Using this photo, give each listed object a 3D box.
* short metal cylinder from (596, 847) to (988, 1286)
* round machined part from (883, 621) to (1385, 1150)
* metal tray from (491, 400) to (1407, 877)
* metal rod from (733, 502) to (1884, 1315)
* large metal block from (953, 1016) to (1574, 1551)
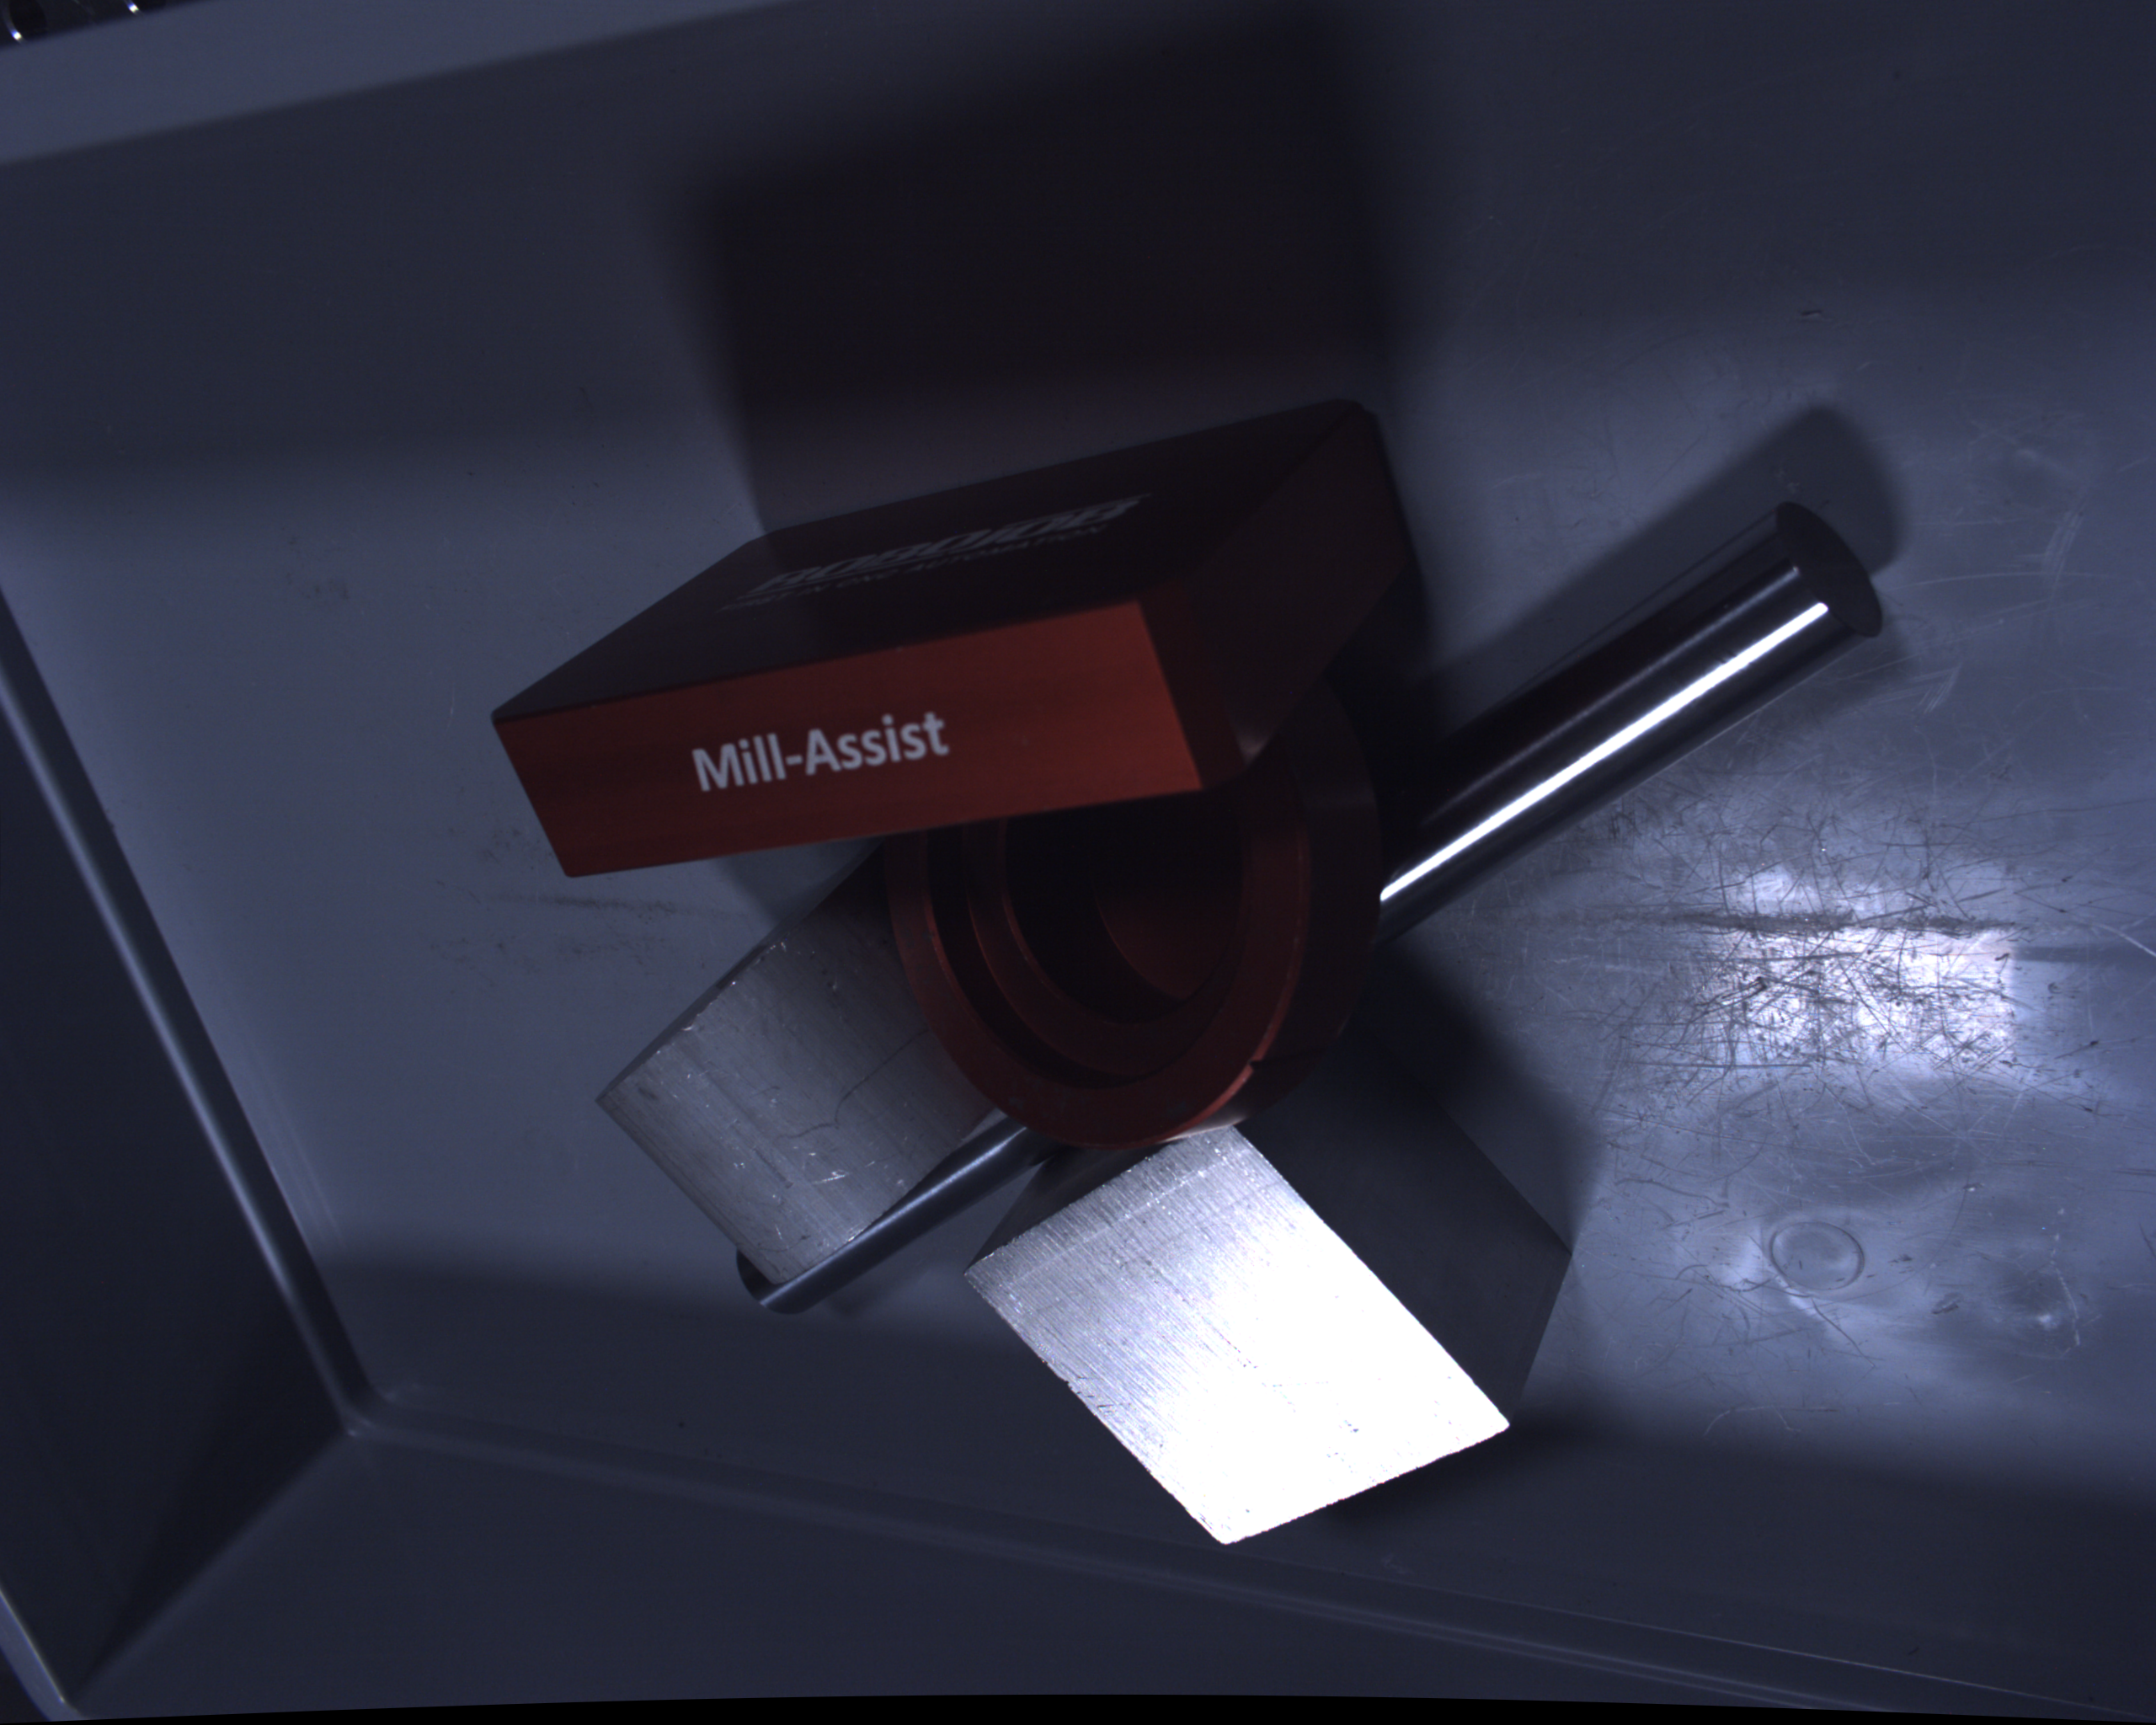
[{"bbox_3d":[-0.049,0.038,0.419,0.050,0.080,0.080,48,129,-5],"label":"short metal cylinder"},{"bbox_3d":[0.014,-0.001,0.369,0.098,0.042,0.097,4,96,42],"label":"round machined part"},{"bbox_3d":[-0.021,-0.037,0.350,0.130,0.090,0.030,-7,115,30],"label":"metal tray"},{"bbox_3d":[0.021,0.026,0.410,0.025,0.025,0.299,48,128,-6],"label":"metal rod"},{"bbox_3d":[0.037,0.081,0.418,0.080,0.050,0.080,48,129,-6],"label":"large metal block"}]
